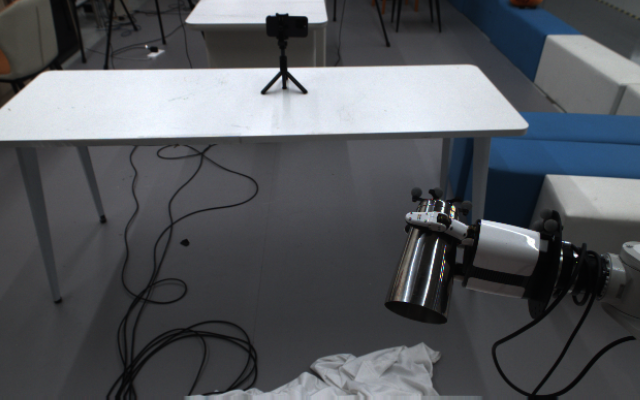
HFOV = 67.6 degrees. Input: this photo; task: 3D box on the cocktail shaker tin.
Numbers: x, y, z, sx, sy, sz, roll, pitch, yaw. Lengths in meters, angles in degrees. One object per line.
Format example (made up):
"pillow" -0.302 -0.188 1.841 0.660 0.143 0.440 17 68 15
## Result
"cocktail shaker tin" 0.164 0.083 0.723 0.093 0.093 0.170 12 65 14
